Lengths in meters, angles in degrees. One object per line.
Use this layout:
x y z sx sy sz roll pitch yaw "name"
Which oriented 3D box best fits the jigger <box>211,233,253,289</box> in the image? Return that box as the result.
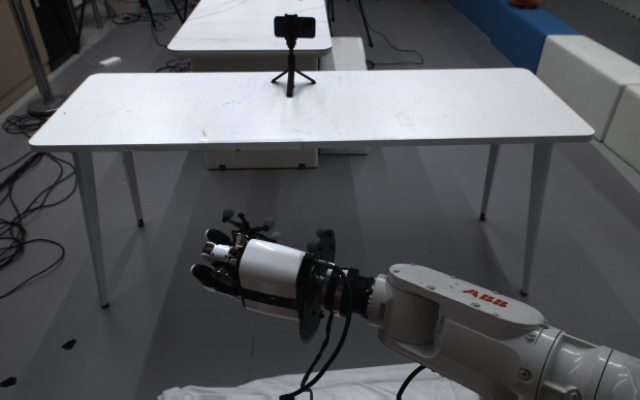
-0.122 0.086 0.706 0.043 0.043 0.071 13 58 16 "jigger"
